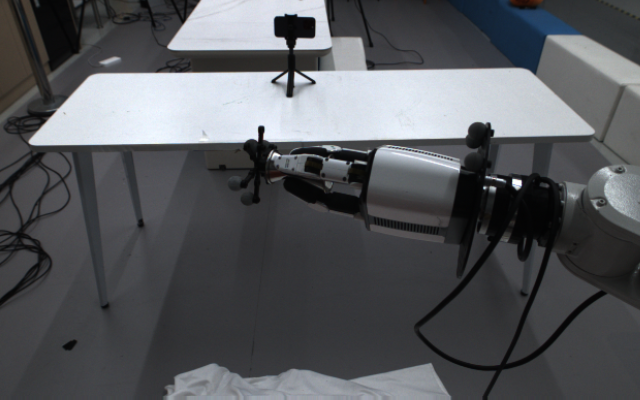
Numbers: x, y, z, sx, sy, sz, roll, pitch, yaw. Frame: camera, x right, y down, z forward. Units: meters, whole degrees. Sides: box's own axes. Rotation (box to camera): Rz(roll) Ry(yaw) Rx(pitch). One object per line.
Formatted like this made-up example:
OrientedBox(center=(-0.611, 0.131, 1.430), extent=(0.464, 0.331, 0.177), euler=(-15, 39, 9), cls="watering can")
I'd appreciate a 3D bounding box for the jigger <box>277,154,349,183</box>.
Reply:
OrientedBox(center=(-0.015, -0.037, 0.536), extent=(0.071, 0.043, 0.043), euler=(7, 35, 16), cls="jigger")
